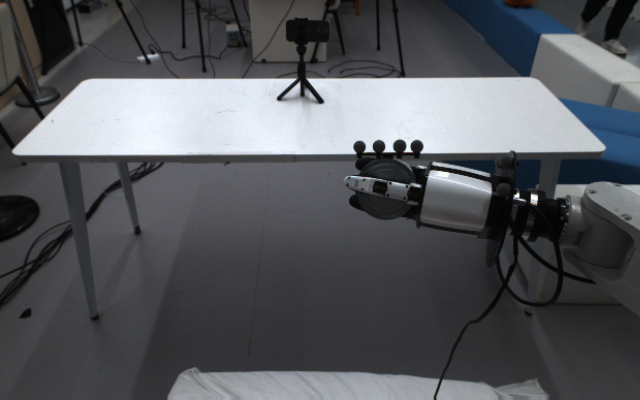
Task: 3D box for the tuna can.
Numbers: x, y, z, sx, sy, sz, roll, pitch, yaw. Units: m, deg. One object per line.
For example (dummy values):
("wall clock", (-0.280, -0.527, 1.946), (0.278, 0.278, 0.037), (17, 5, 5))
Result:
("tuna can", (0.097, -0.012, 0.676), (0.085, 0.085, 0.034), (13, 7, 15))
